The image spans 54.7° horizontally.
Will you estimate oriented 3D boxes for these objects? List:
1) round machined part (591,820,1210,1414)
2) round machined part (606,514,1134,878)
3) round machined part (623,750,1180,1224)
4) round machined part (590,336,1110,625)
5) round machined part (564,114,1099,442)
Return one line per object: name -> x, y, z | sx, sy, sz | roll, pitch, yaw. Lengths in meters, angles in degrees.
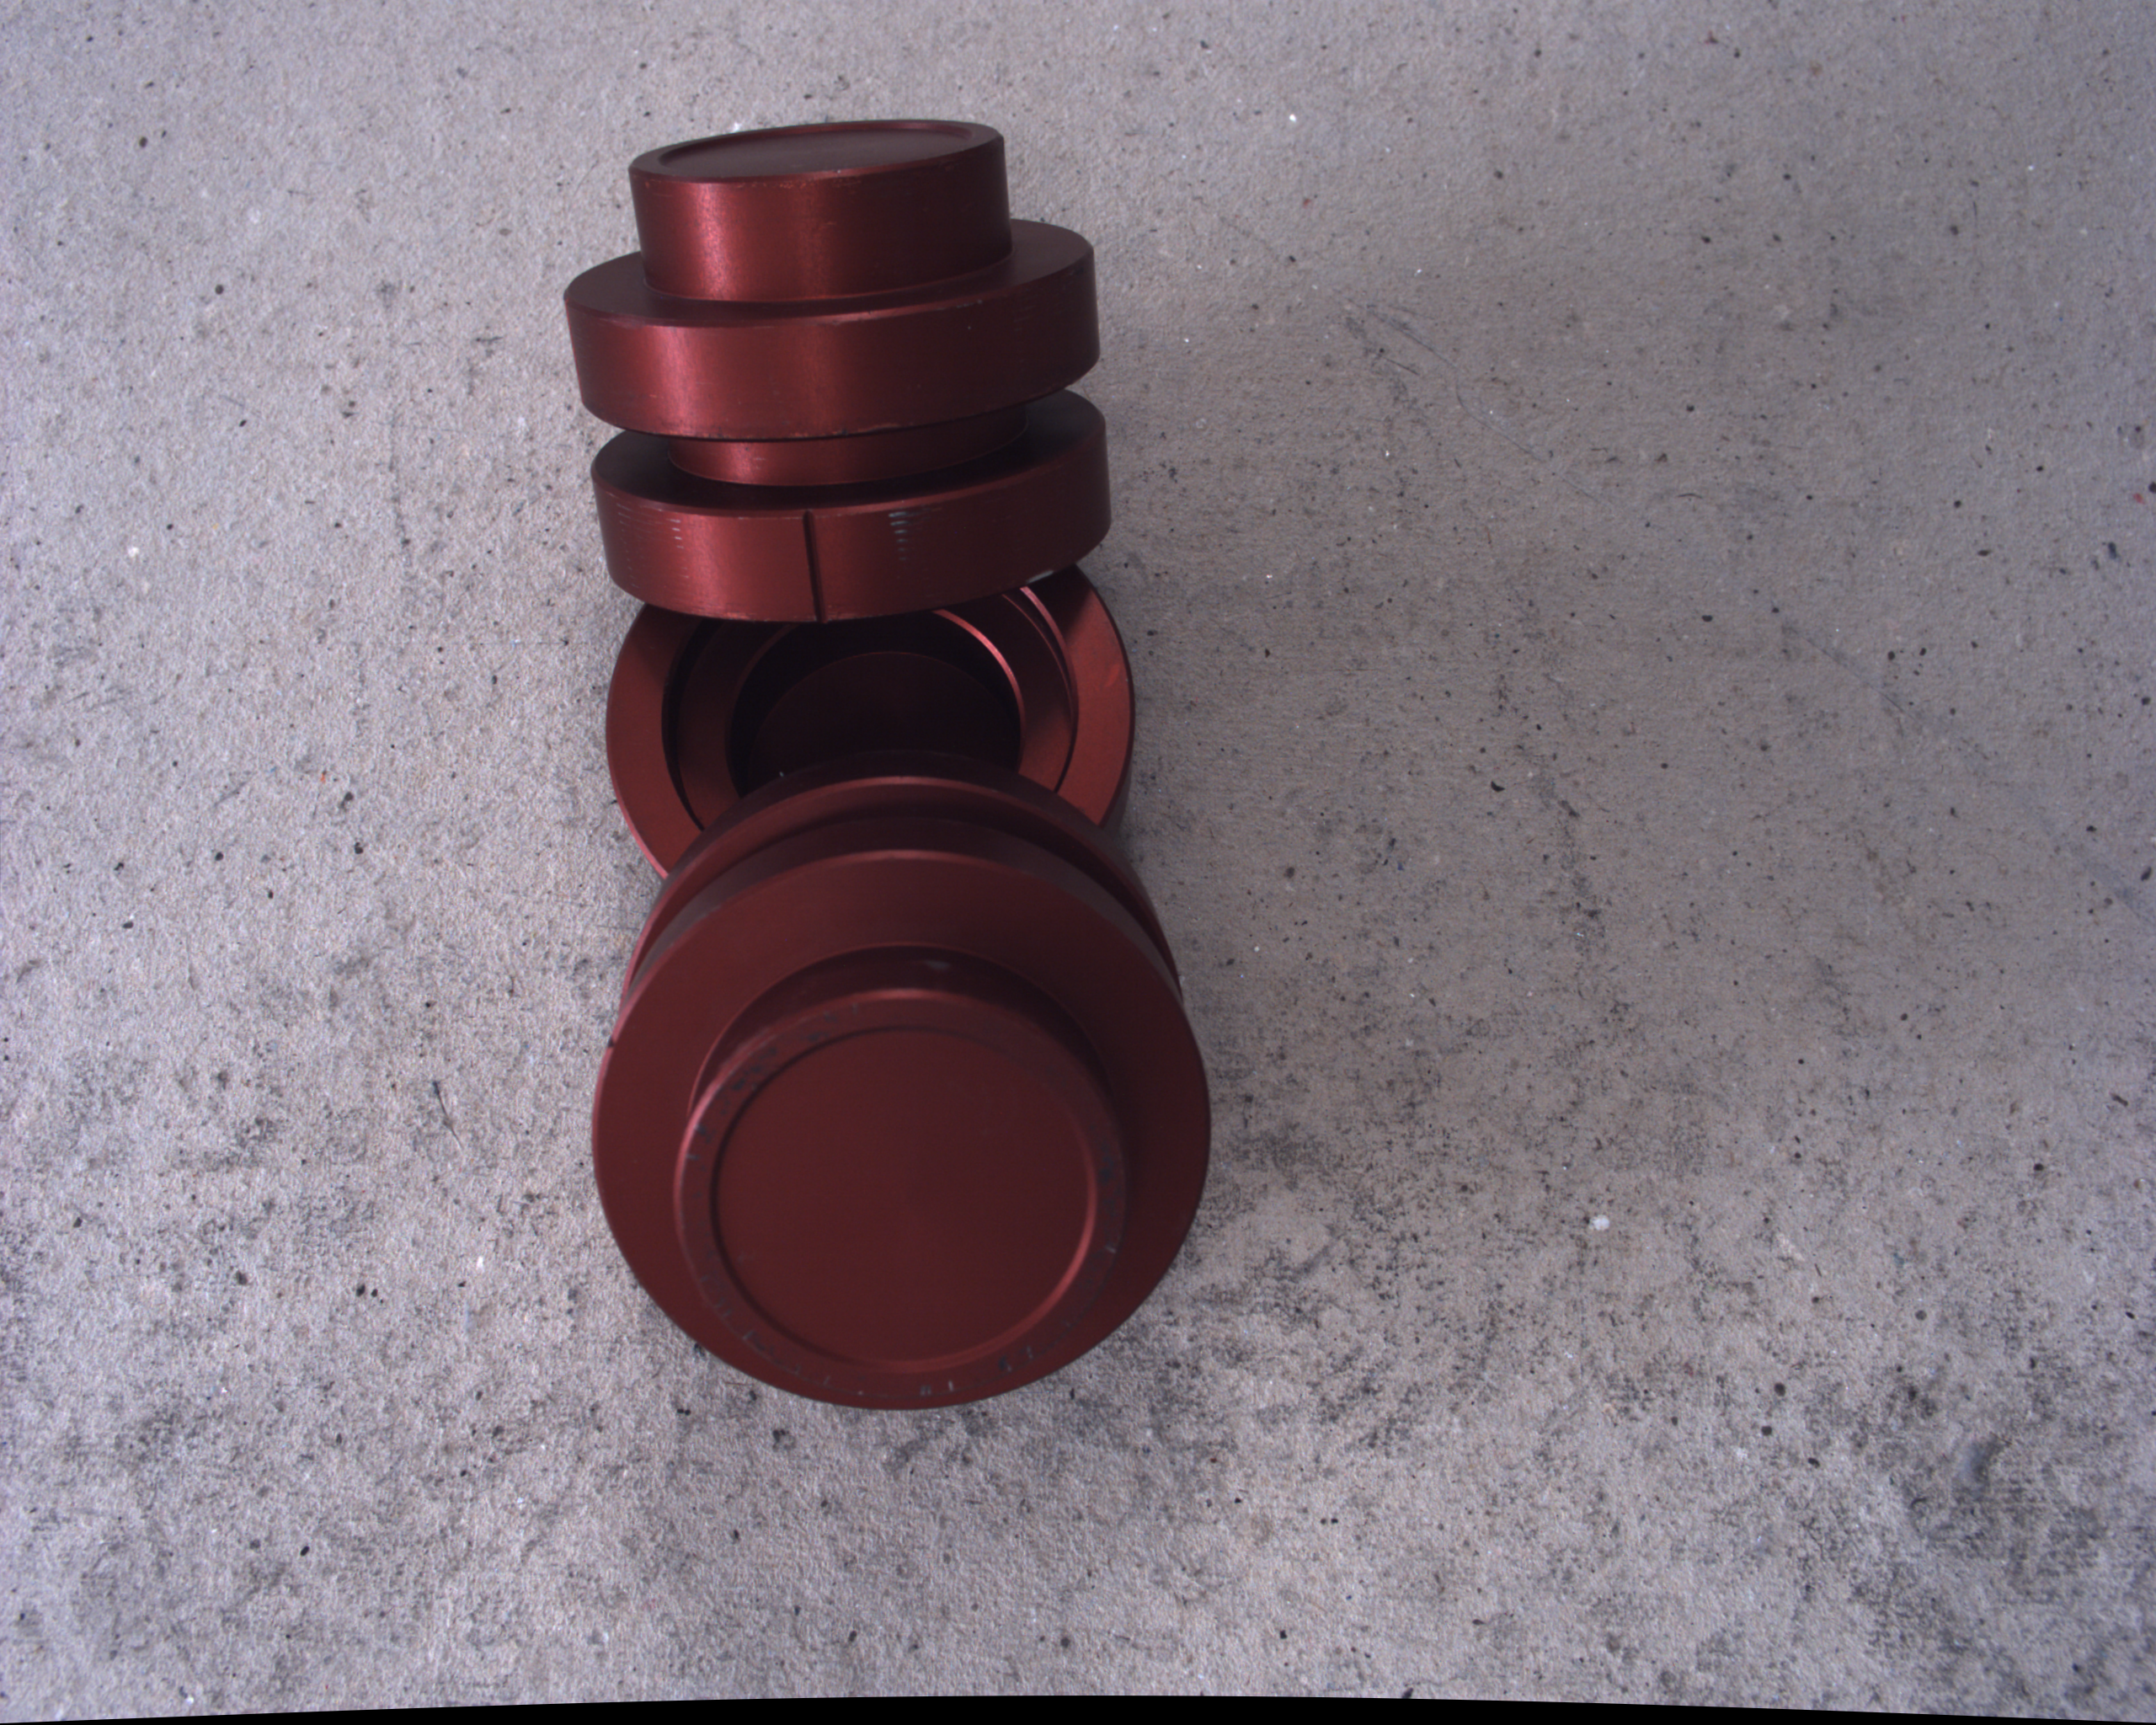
round machined part -> -0.028, 0.045, 0.332 | 0.099, 0.042, 0.097 | -1, 106, -4
round machined part -> -0.039, -0.022, 0.409 | 0.099, 0.042, 0.098 | 0, 70, 0
round machined part -> -0.030, 0.033, 0.362 | 0.099, 0.042, 0.097 | -1, 107, -4
round machined part -> -0.044, -0.082, 0.401 | 0.099, 0.042, 0.098 | -3, 27, 2
round machined part -> -0.046, -0.113, 0.390 | 0.099, 0.042, 0.098 | -3, 27, 2
